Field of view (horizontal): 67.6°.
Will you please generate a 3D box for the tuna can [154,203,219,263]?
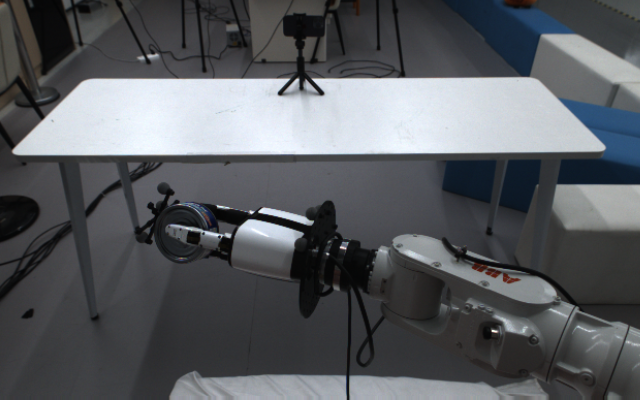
[{"bbox_3d":[-0.187,0.047,0.684,0.085,0.085,0.034,10,6,11],"label":"tuna can"}]
